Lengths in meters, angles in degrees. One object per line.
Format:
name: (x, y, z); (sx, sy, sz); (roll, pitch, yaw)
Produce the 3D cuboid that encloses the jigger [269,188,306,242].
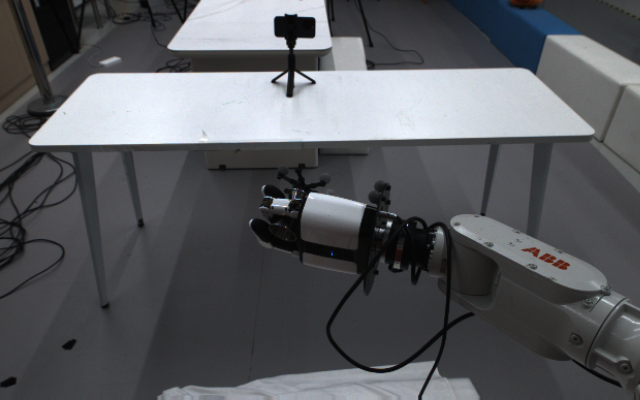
jigger: (-0.040, 0.022, 0.711); (0.043, 0.043, 0.071); (13, 58, 16)
